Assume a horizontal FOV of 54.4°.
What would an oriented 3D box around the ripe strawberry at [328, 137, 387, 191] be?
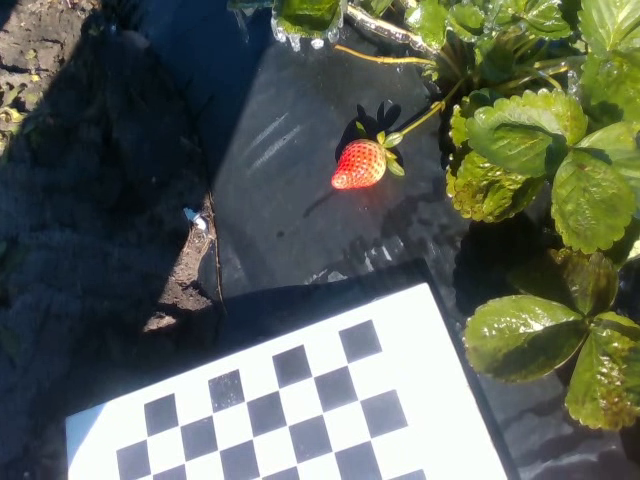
[{"bbox_3d":[0.028,-0.051,0.442,0.053,0.039,0.041,-32,-32,-18],"label":"ripe strawberry"}]
